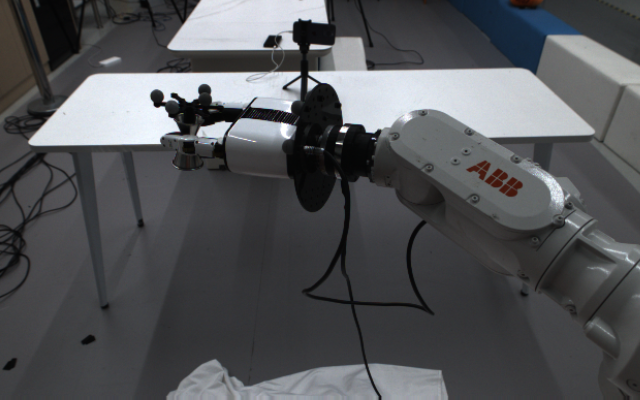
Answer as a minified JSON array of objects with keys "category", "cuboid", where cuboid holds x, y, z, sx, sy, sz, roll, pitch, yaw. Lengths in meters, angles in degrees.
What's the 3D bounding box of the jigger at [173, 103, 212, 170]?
[{"category":"jigger","cuboid":[-0.179,-0.080,0.660,0.043,0.071,0.043,9,31,-5]}]
